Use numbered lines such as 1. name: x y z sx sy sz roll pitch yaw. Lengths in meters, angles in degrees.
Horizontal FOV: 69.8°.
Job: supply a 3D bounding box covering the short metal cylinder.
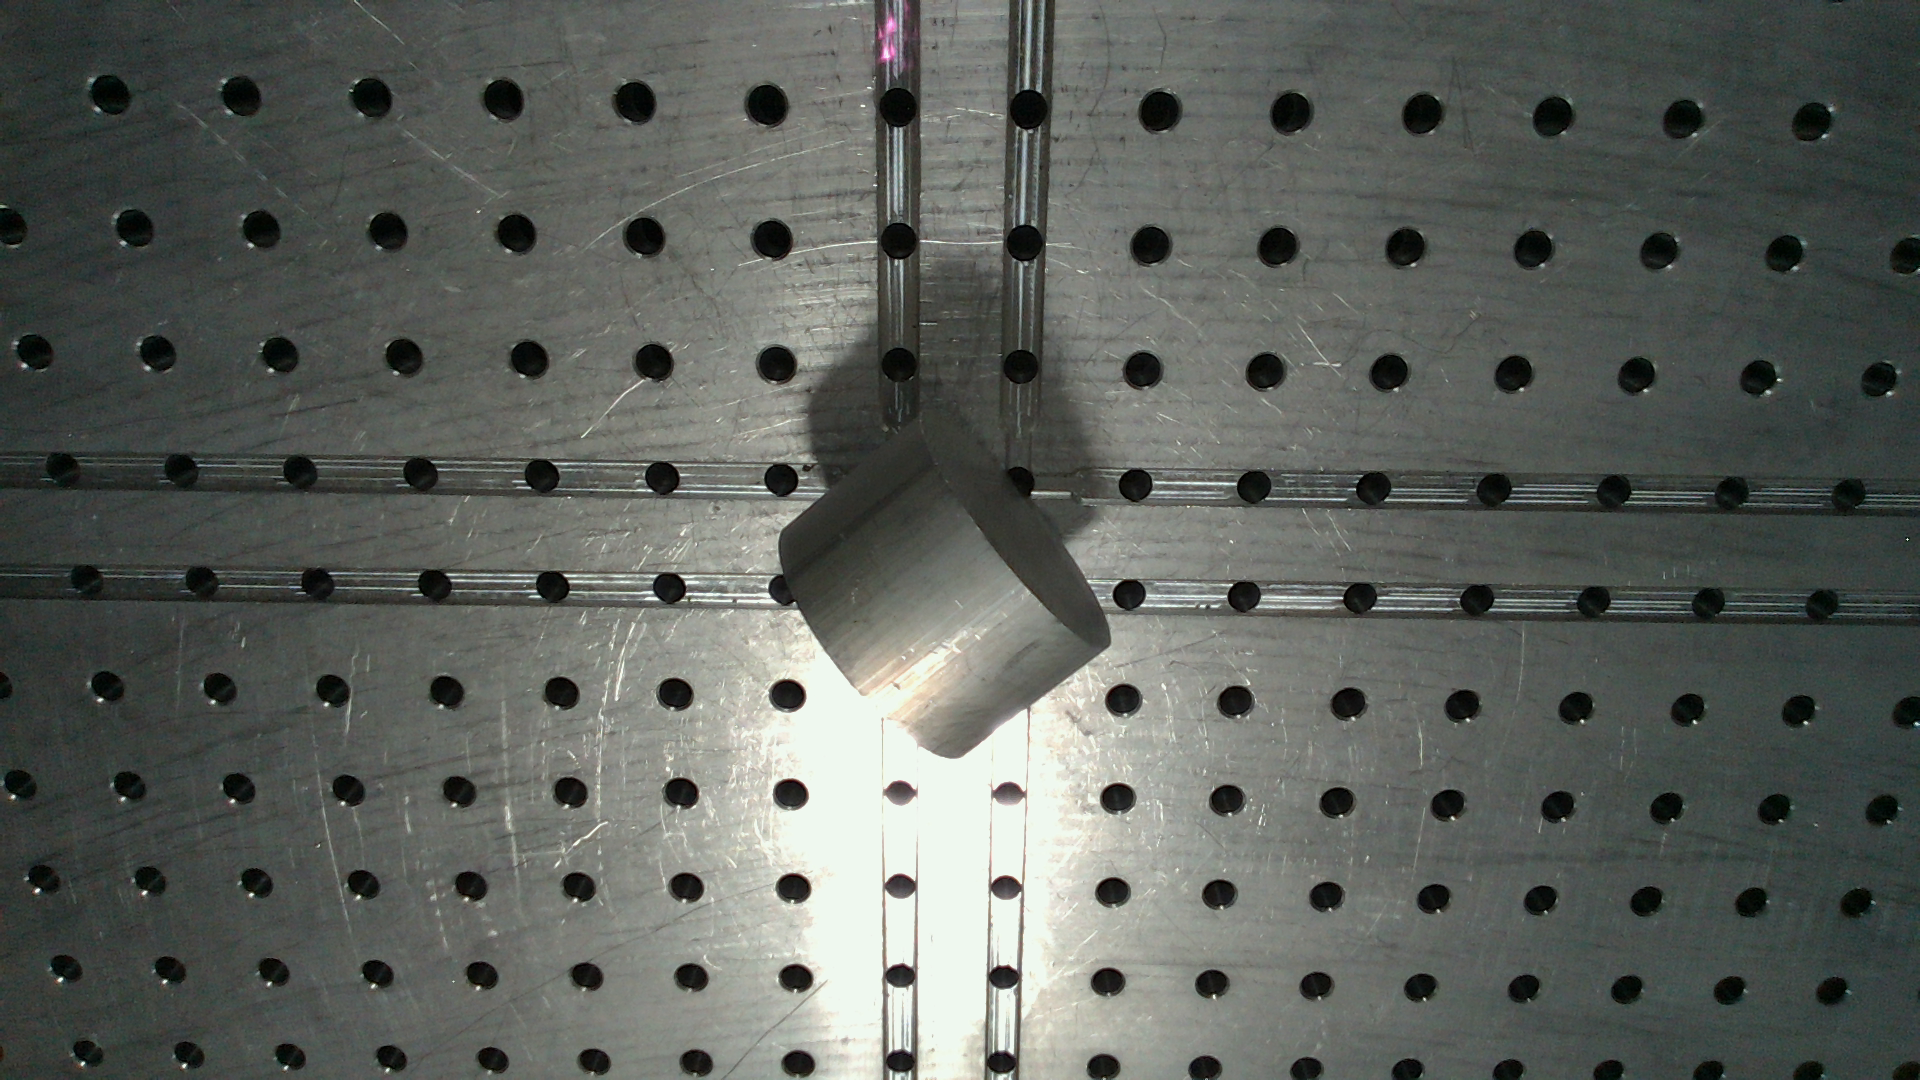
1. short metal cylinder: -0.003 0.012 0.371 0.050 0.080 0.080 -38 106 13
